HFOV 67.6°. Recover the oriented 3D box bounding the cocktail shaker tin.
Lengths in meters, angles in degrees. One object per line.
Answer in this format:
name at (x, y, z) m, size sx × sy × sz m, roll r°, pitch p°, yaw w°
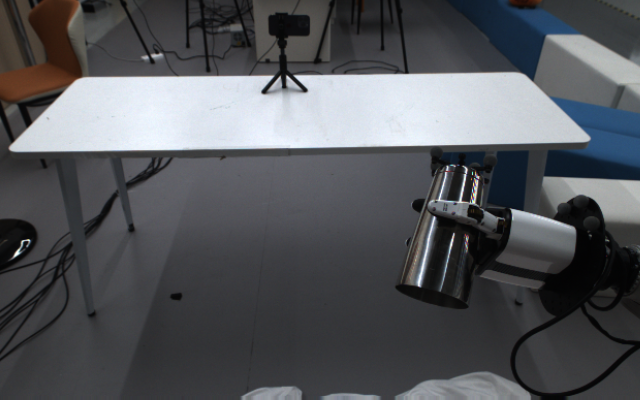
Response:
cocktail shaker tin at (0.163, 0.043, 0.622) m, size 0.093 × 0.093 × 0.170 m, roll 13°, pitch 70°, yaw 15°
